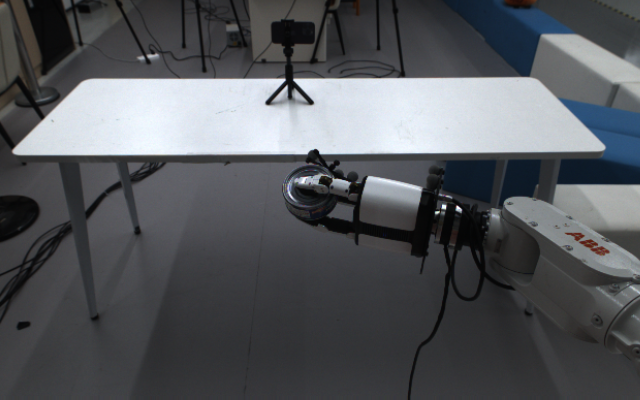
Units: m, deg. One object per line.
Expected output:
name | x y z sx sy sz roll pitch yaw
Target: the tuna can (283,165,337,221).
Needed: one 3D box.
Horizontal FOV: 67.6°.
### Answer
tuna can | -0.014 -0.014 0.752 0.085 0.034 0.085 -4 57 6
